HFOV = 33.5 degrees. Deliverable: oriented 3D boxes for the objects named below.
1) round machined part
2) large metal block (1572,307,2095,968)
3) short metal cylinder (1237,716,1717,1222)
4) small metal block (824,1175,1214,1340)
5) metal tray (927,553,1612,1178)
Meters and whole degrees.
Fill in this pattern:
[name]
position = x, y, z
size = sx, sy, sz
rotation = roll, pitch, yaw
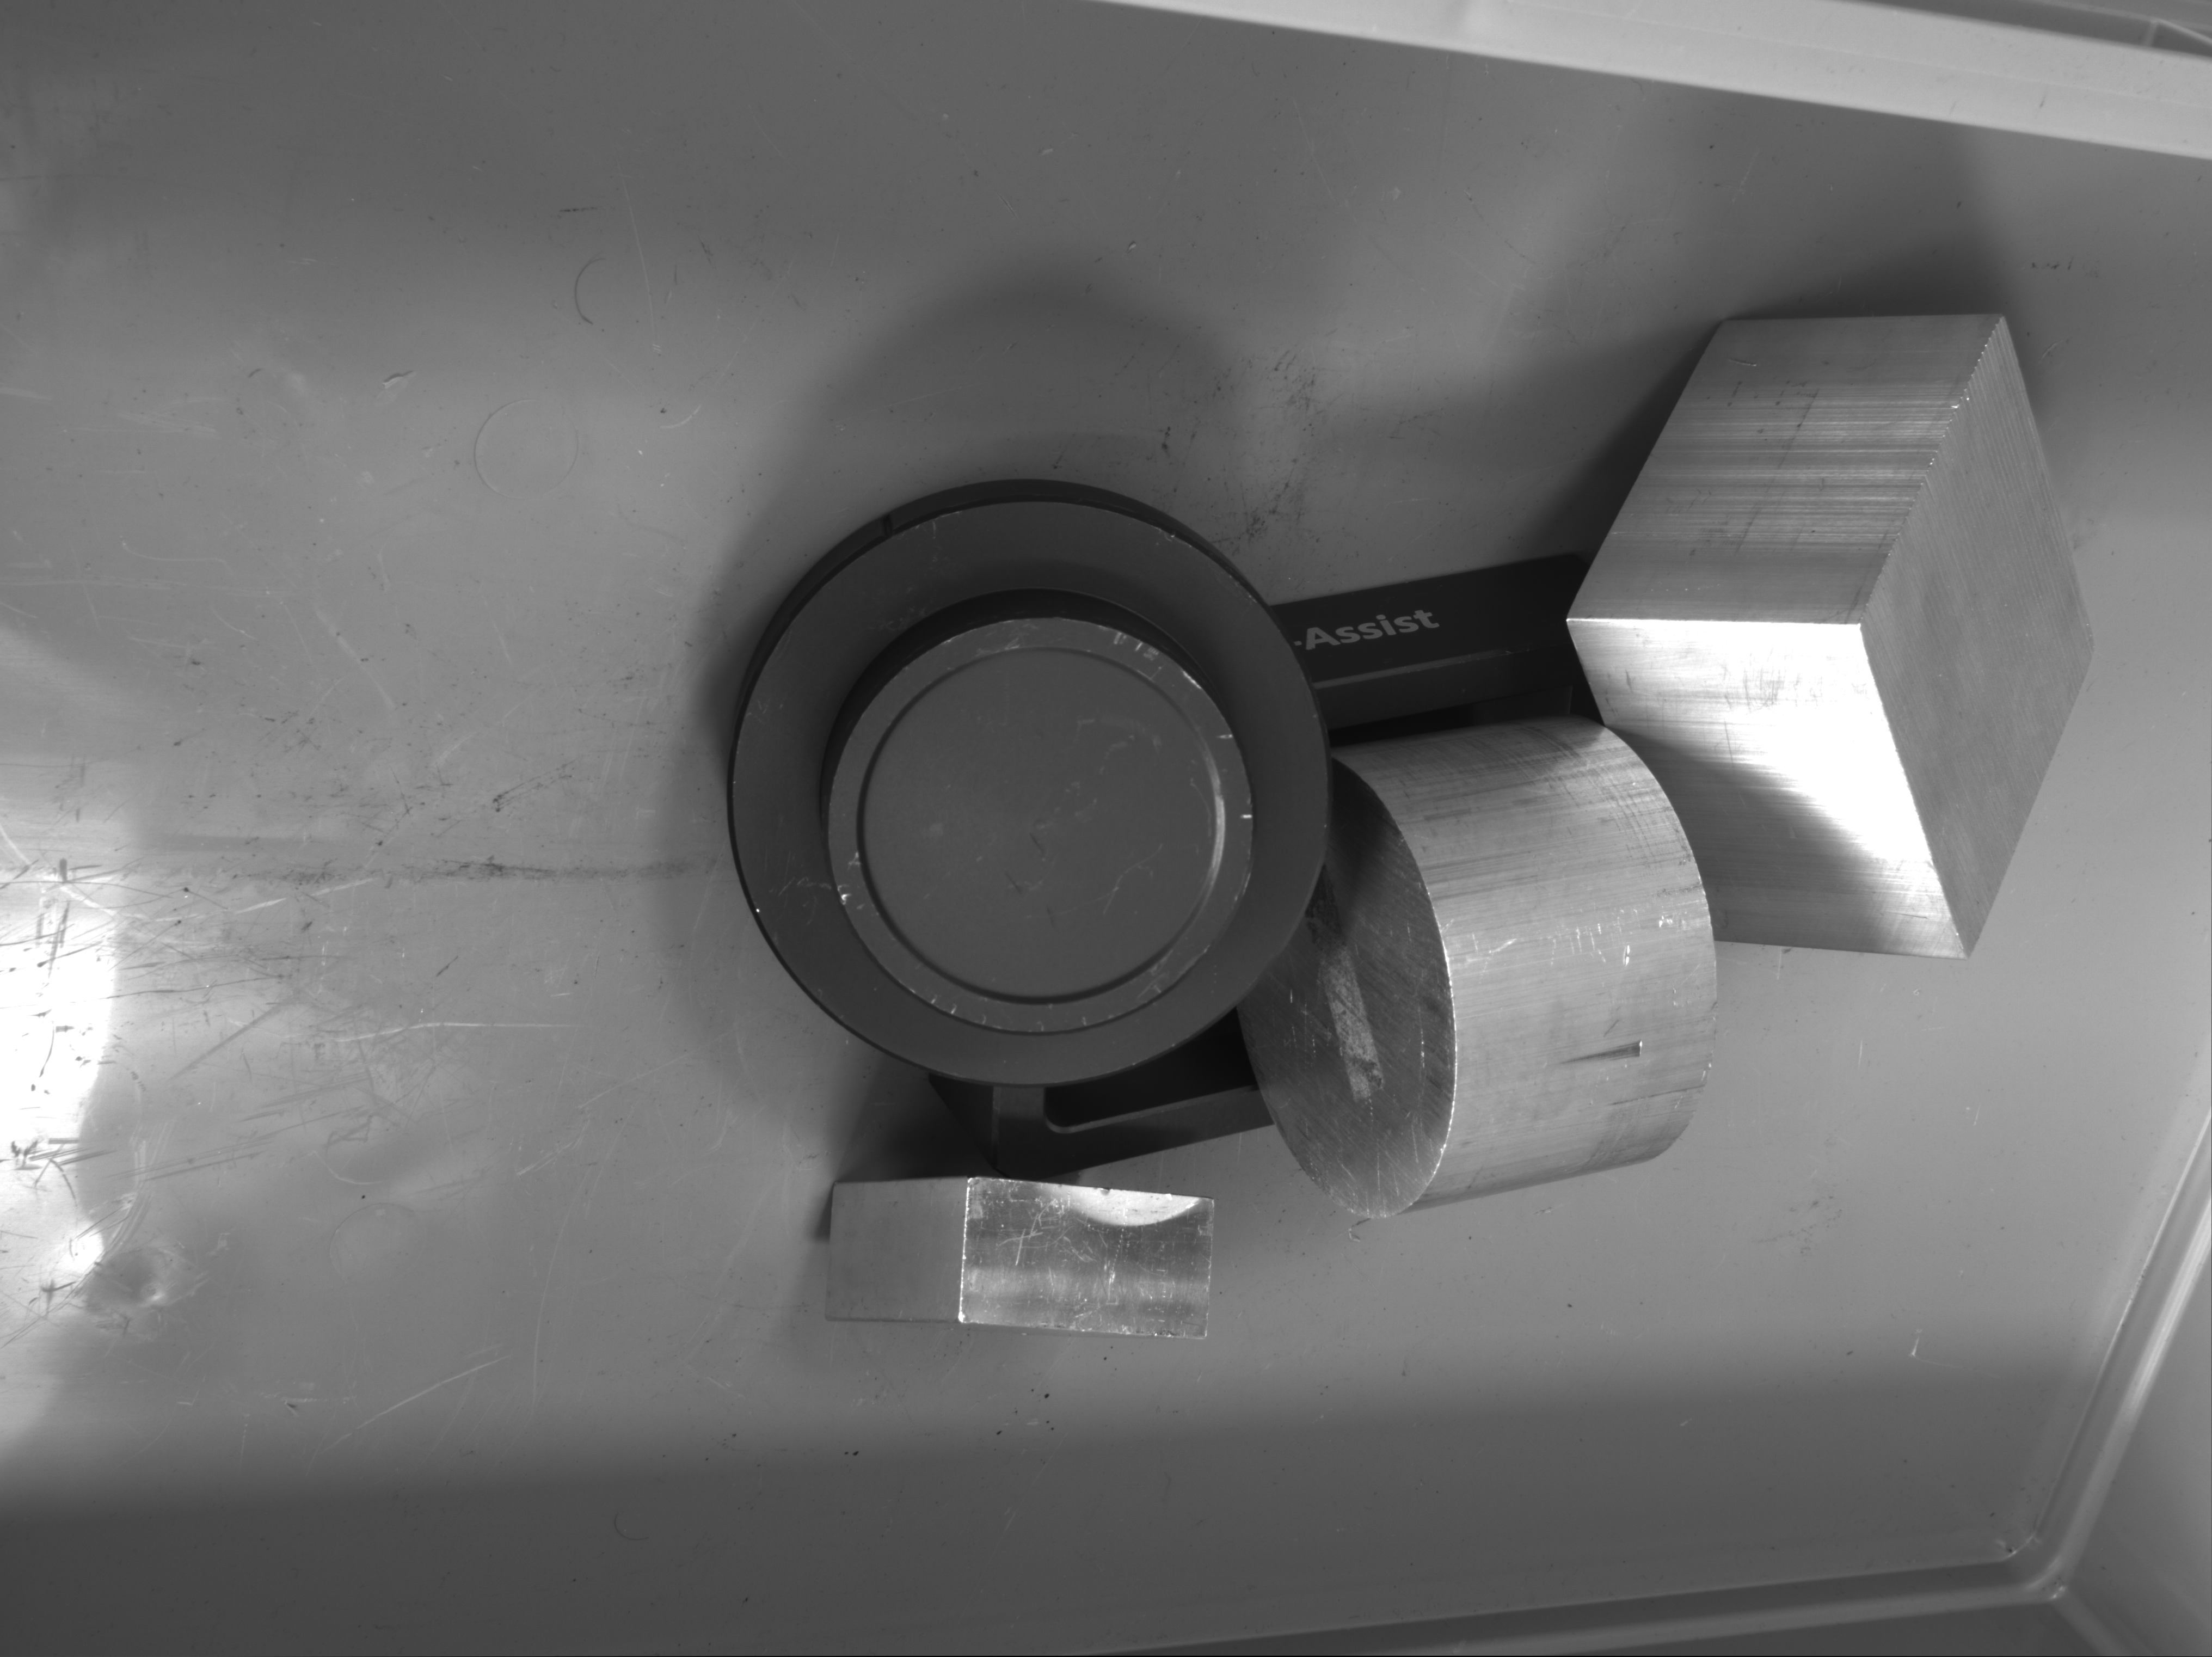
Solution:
[round machined part]
position = -0.012, -0.004, 0.592
size = 0.098, 0.042, 0.098
rotation = -1, 102, -4
[large metal block]
position = 0.130, -0.034, 0.644
size = 0.080, 0.050, 0.080
rotation = -60, 138, -33
[short metal cylinder]
position = 0.061, 0.023, 0.632
size = 0.050, 0.080, 0.080
rotation = -9, 122, -24
[small metal block]
position = -0.016, 0.077, 0.655
size = 0.050, 0.050, 0.025
rotation = 8, 80, -31
[metal tray]
position = 0.034, 0.006, 0.657
size = 0.130, 0.030, 0.090
rotation = -11, 123, -22
